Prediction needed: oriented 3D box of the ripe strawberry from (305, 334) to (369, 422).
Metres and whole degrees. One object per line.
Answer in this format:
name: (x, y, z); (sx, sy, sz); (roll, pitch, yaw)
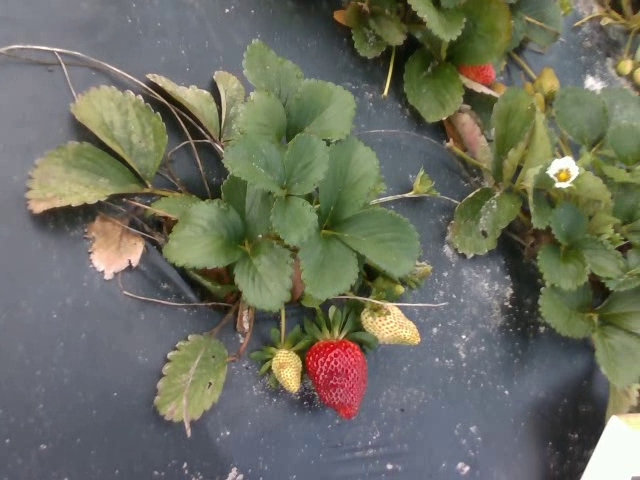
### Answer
ripe strawberry: (0.013, 0.093, 0.392); (0.047, 0.045, 0.059); (1, 43, -18)
